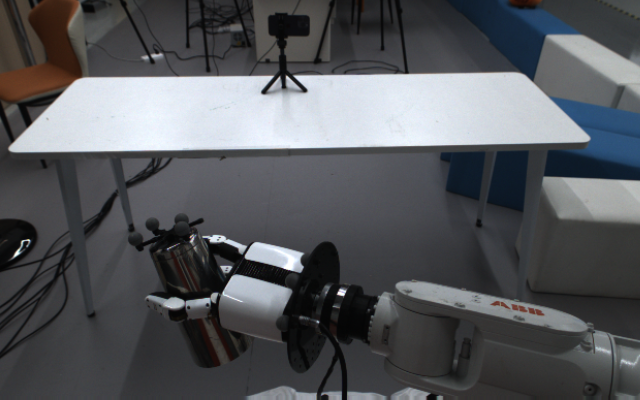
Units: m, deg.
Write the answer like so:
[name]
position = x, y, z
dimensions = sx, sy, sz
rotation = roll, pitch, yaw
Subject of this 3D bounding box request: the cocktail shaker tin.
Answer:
[cocktail shaker tin]
position = -0.159, 0.126, 0.637
dimensions = 0.093, 0.170, 0.093
rotation = -17, 19, 6
